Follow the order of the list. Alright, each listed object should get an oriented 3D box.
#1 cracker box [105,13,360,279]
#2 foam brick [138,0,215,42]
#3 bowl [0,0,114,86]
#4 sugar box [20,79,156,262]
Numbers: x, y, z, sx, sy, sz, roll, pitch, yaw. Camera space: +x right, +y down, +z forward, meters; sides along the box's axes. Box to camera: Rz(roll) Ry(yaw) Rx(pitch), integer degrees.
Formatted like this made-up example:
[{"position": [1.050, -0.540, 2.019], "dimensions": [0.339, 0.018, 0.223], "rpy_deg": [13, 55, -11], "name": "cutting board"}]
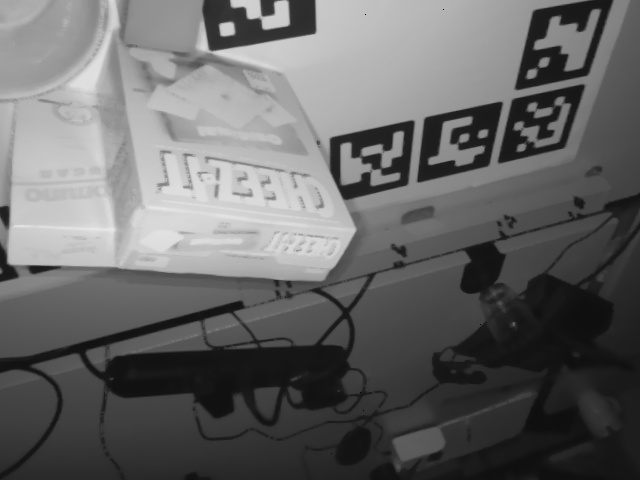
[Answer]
[{"position": [-0.075, -0.080, 0.558], "dimensions": [0.166, 0.214, 0.071], "rpy_deg": [11, 131, -32], "name": "cracker box"}, {"position": [-0.111, -0.196, 0.528], "dimensions": [0.053, 0.078, 0.050], "rpy_deg": [-1, 136, -24], "name": "foam brick"}, {"position": [-0.227, -0.189, 0.476], "dimensions": [0.163, 0.055, 0.160], "rpy_deg": [-13, 137, -12], "name": "bowl"}, {"position": [-0.187, -0.060, 0.554], "dimensions": [0.094, 0.176, 0.044], "rpy_deg": [4, 133, -28], "name": "sugar box"}]
